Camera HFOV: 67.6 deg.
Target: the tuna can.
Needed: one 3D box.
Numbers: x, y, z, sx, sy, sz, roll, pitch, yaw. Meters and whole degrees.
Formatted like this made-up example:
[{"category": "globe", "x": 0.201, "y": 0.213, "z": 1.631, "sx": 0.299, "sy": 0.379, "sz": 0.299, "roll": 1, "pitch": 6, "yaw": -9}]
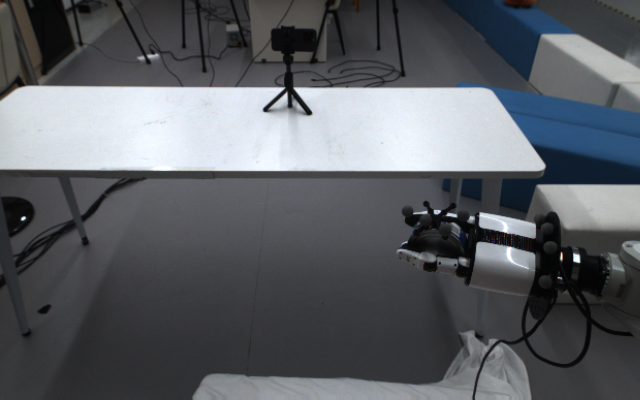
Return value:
[{"category": "tuna can", "x": 0.179, "y": 0.065, "z": 0.732, "sx": 0.085, "sy": 0.085, "sz": 0.034, "roll": 14, "pitch": 41, "yaw": 16}]
